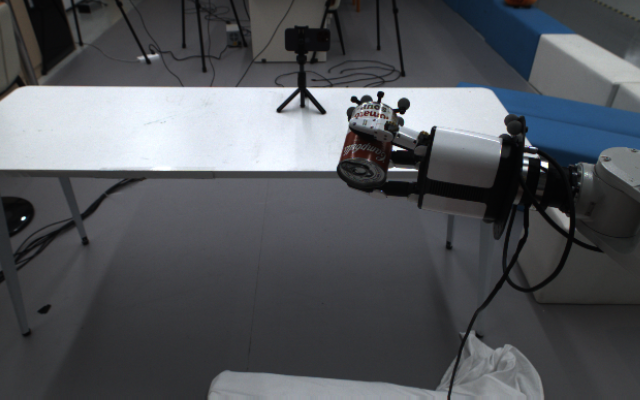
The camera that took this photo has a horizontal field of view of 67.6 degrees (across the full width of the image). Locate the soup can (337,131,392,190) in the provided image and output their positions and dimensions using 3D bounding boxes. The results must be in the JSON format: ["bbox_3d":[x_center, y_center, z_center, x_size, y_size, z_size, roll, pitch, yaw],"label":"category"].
[{"bbox_3d":[0.067,-0.078,0.664,0.067,0.067,0.101,9,60,10],"label":"soup can"}]
